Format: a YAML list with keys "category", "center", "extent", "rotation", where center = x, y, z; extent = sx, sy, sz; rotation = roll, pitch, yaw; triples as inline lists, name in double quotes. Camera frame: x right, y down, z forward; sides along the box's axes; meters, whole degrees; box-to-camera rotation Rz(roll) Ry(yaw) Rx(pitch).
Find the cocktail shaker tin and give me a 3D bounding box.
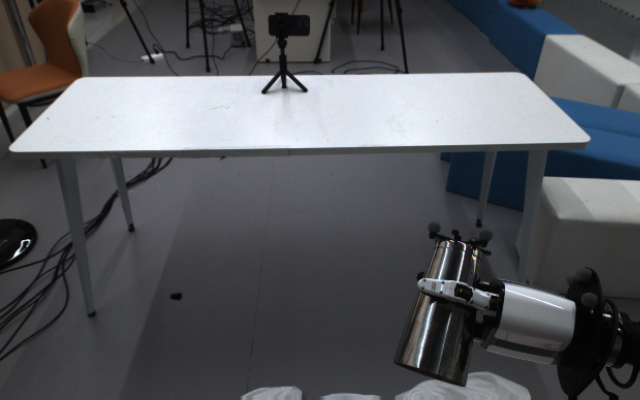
- category: "cocktail shaker tin"
  center: [0.161, 0.142, 0.633]
  extent: [0.093, 0.093, 0.170]
  rotation: [14, 69, 17]
